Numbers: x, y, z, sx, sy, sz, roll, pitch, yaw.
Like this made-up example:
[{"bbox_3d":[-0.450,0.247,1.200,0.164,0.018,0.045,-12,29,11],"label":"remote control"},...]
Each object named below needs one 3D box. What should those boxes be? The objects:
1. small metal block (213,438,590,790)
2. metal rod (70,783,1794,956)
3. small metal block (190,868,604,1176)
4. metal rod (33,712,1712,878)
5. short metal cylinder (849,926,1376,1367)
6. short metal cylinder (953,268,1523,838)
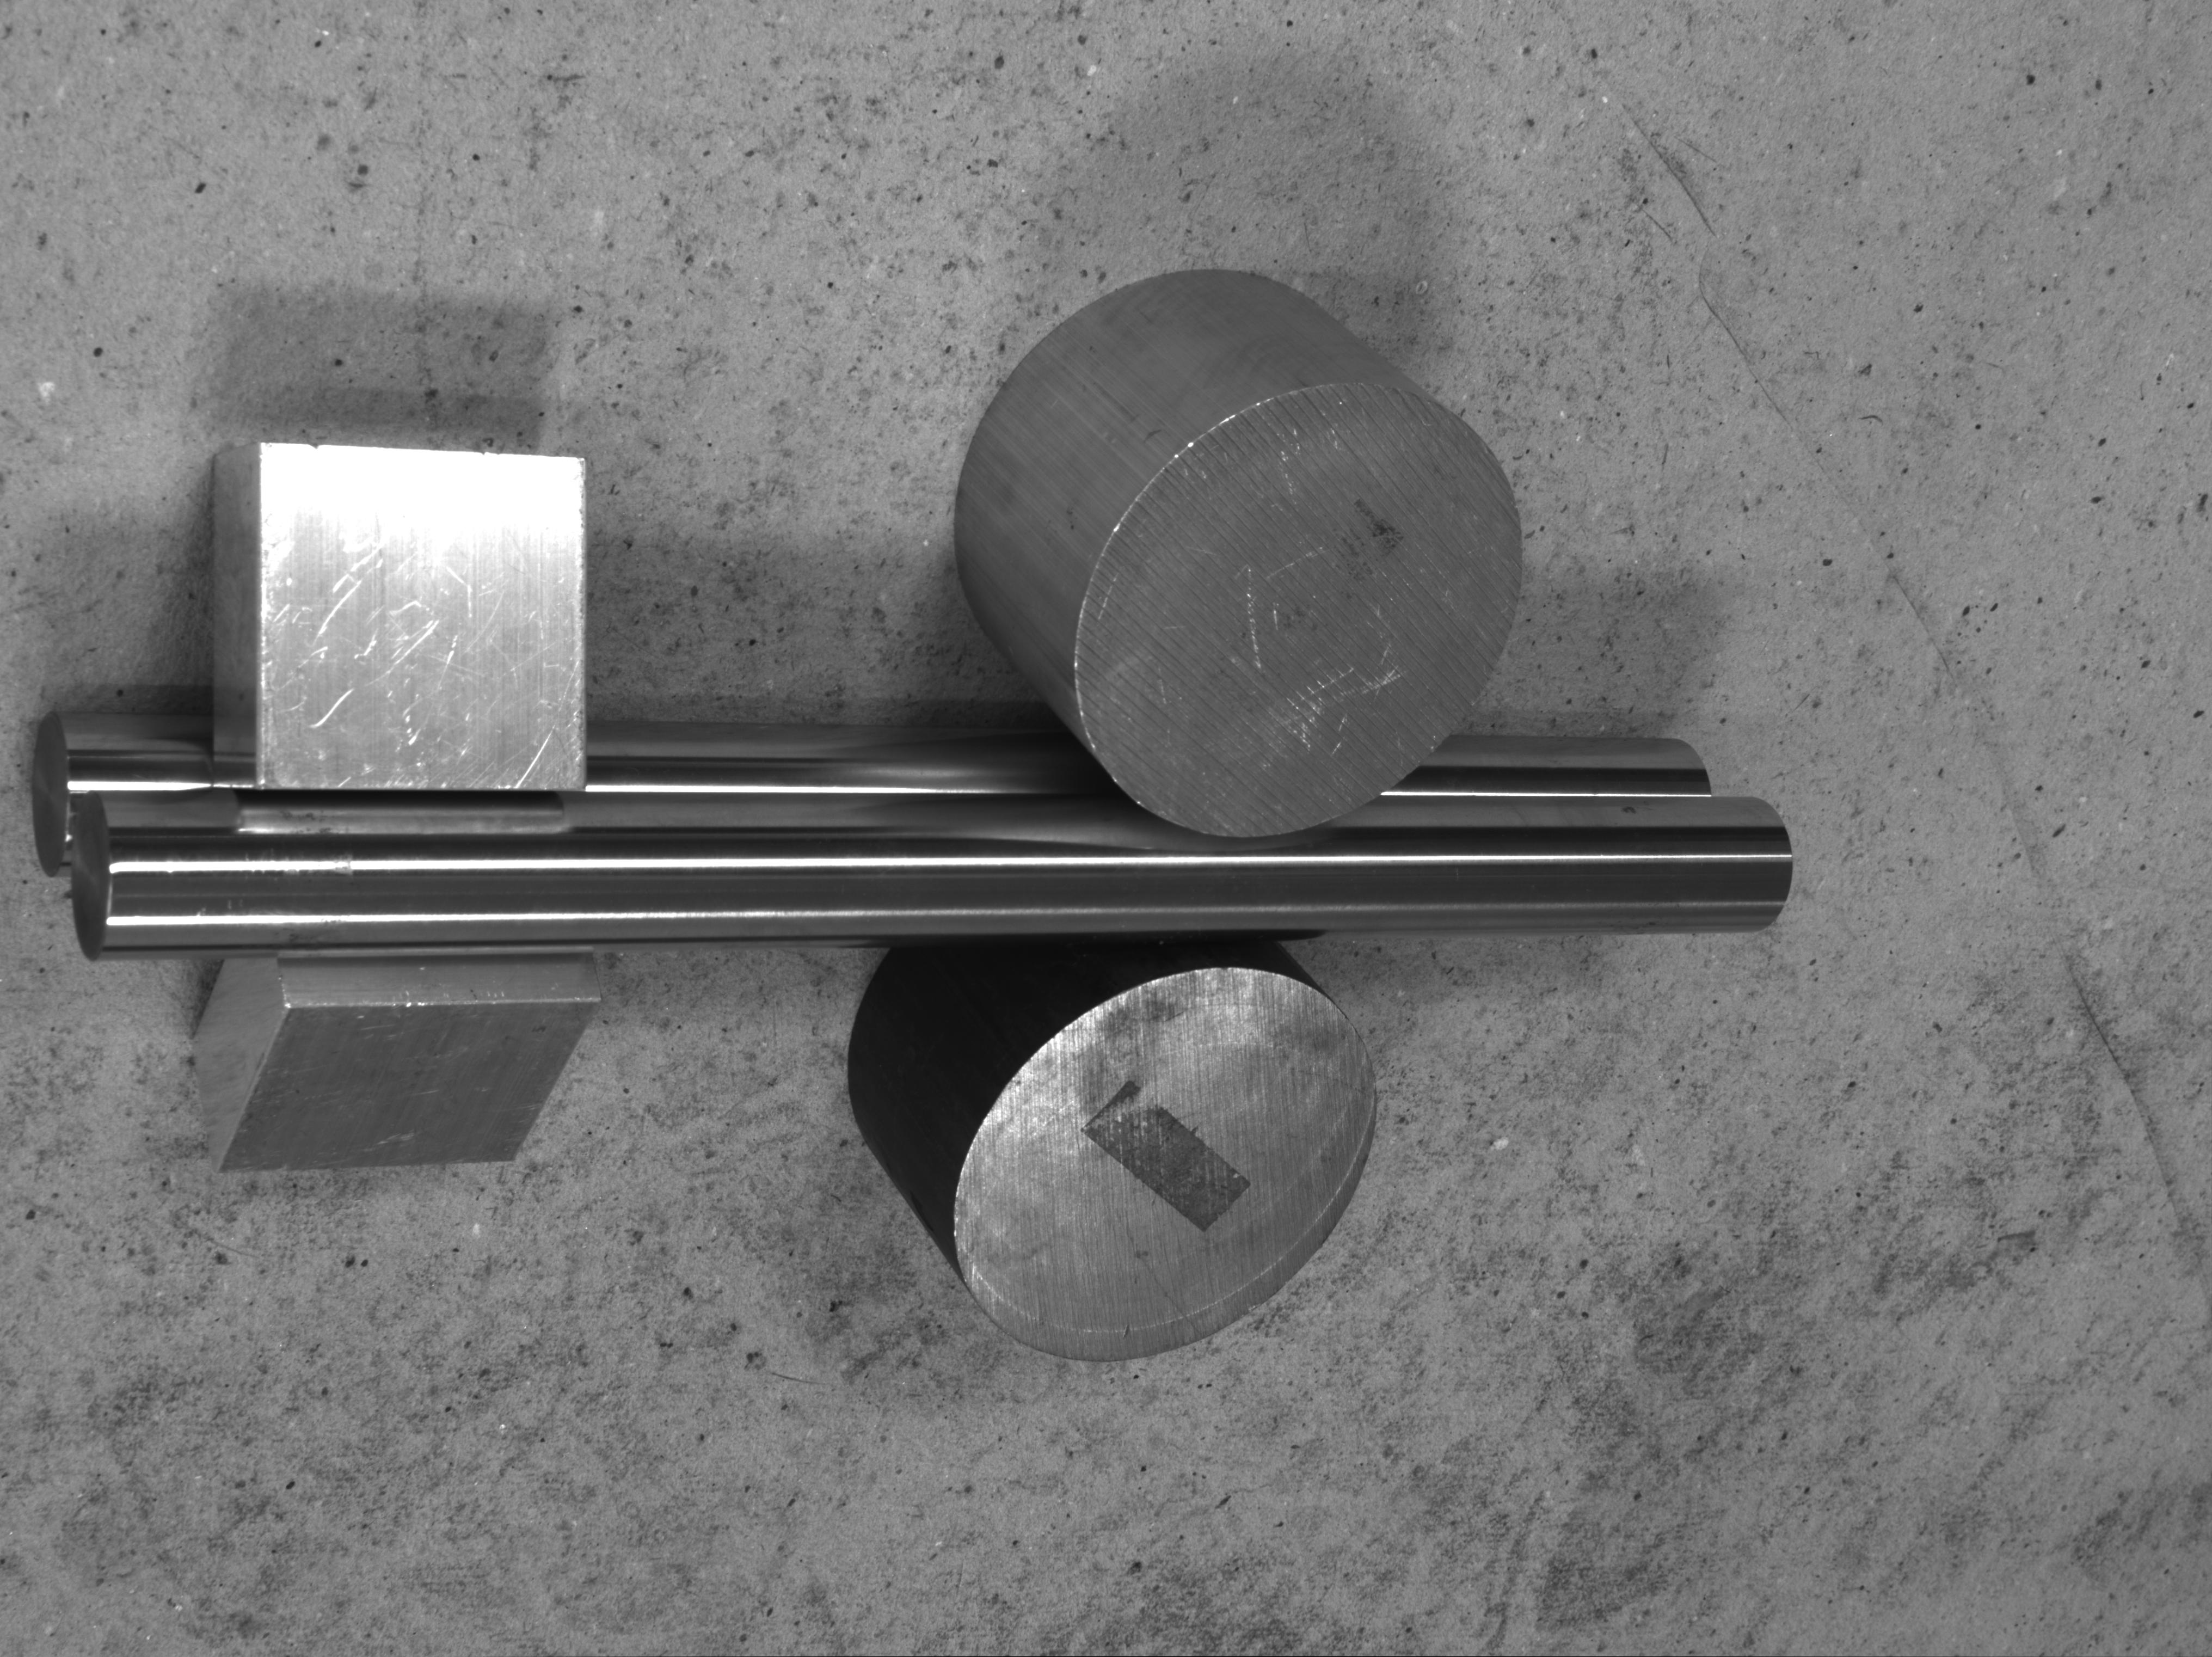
[{"bbox_3d":[-0.106,-0.031,0.550,0.050,0.025,0.050,0,91,-28],"label":"small metal block"},{"bbox_3d":[-0.014,0.006,0.602,0.301,0.025,0.025,0,118,-28],"label":"metal rod"},{"bbox_3d":[-0.113,0.031,0.583,0.050,0.025,0.050,0,145,-29],"label":"small metal block"},{"bbox_3d":[-0.026,-0.005,0.621,0.301,0.025,0.025,0,118,-28],"label":"metal rod"},{"bbox_3d":[0.001,0.048,0.651,0.080,0.050,0.080,-13,124,-21],"label":"short metal cylinder"},{"bbox_3d":[0.021,-0.046,0.606,0.080,0.050,0.080,-13,124,-21],"label":"short metal cylinder"}]
